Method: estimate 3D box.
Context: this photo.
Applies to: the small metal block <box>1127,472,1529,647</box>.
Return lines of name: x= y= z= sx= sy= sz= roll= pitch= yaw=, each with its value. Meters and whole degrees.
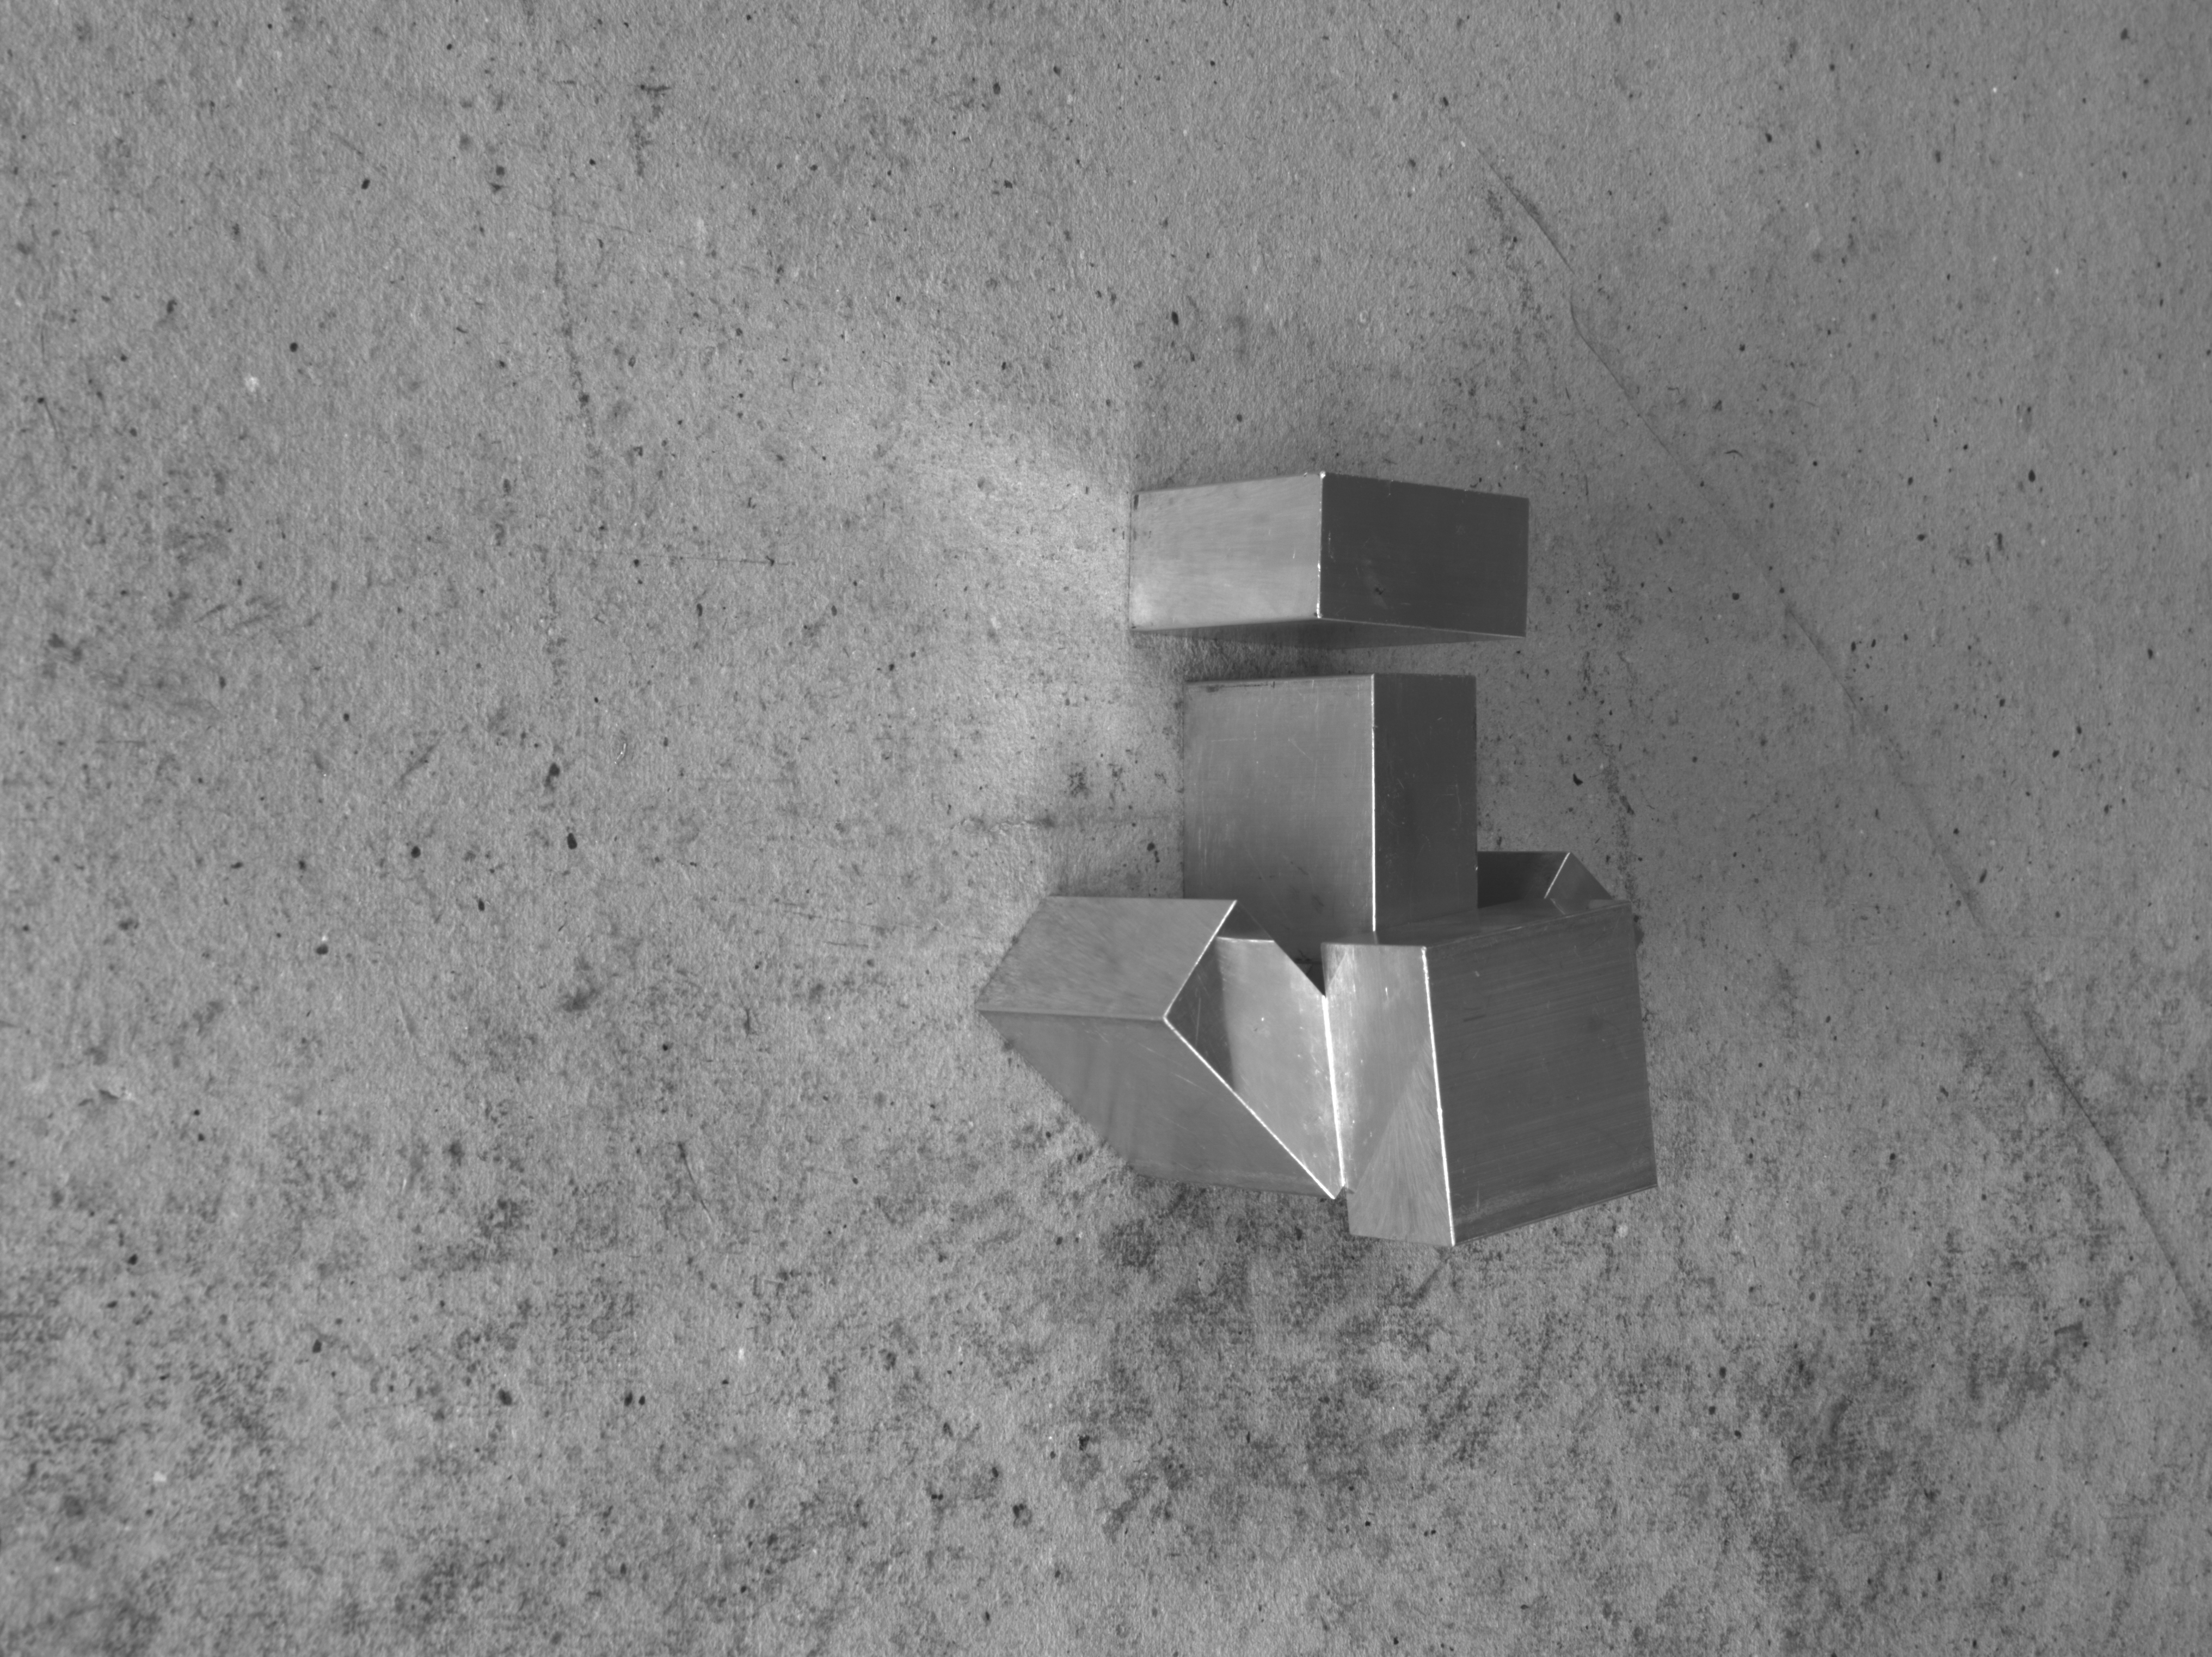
small metal block: x=0.039 y=-0.046 z=0.653 sx=0.050 sy=0.050 sz=0.025 roll=2 pitch=88 yaw=-40

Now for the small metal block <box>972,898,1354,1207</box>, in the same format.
small metal block: x=0.014 y=0.038 z=0.631 sx=0.050 sy=0.050 sz=0.025 roll=48 pitch=61 yaw=-30

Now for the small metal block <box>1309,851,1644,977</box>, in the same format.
small metal block: x=0.062 y=0.032 z=0.673 sx=0.025 sy=0.050 sz=0.050 roll=45 pitch=64 yaw=-30

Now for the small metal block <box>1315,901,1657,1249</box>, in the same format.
small metal block: x=0.065 y=0.041 z=0.627 sx=0.050 sy=0.025 sz=0.050 roll=-10 pitch=96 yaw=-39

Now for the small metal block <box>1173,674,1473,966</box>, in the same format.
small metal block: x=0.038 y=-0.001 z=0.653 sx=0.025 sy=0.050 sz=0.050 roll=-1 pitch=90 yaw=-40
